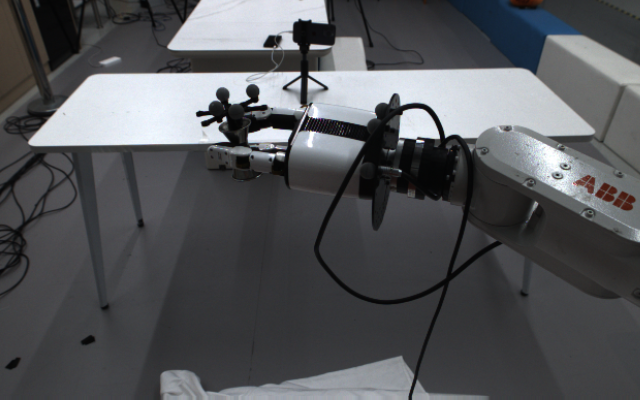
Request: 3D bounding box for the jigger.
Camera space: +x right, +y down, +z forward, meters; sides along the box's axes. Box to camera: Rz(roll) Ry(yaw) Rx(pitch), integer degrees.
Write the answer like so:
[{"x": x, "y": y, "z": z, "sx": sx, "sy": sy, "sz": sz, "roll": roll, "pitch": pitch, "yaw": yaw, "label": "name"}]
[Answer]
[{"x": -0.096, "y": -0.064, "z": 0.606, "sx": 0.043, "sy": 0.071, "sz": 0.043, "roll": -8, "pitch": 31, "yaw": 5, "label": "jigger"}]
